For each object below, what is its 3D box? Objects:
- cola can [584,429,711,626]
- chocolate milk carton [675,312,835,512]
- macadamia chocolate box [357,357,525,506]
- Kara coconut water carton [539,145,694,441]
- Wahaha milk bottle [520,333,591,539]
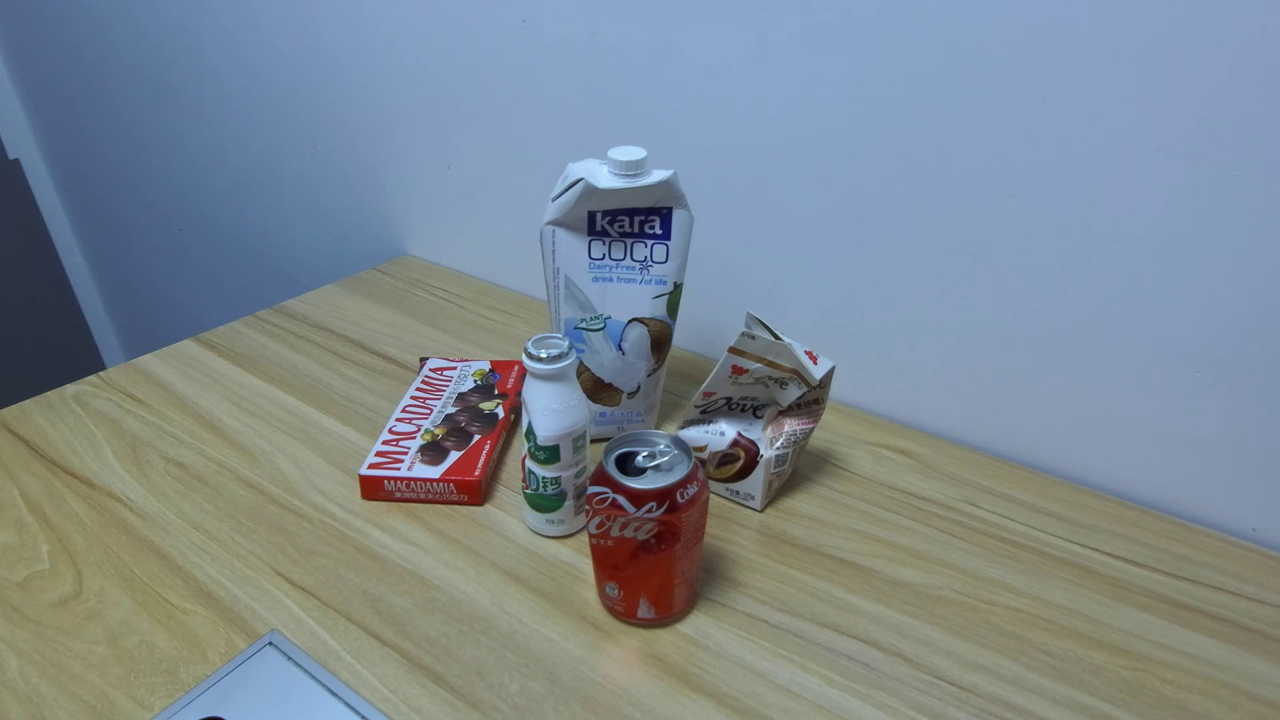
[{"bbox_3d":[0.005,0.103,0.436,0.065,0.117,0.066,16,34,24],"label":"cola can"},{"bbox_3d":[0.087,0.036,0.526,0.089,0.155,0.077,28,42,15],"label":"chocolate milk carton"},{"bbox_3d":[-0.160,0.052,0.606,0.106,0.028,0.183,3,31,0],"label":"macadamia chocolate box"},{"bbox_3d":[-0.021,-0.050,0.569,0.115,0.238,0.069,-3,29,-12],"label":"Kara coconut water carton"},{"bbox_3d":[-0.060,0.053,0.487,0.056,0.148,0.056,1,33,-1],"label":"Wahaha milk bottle"}]
